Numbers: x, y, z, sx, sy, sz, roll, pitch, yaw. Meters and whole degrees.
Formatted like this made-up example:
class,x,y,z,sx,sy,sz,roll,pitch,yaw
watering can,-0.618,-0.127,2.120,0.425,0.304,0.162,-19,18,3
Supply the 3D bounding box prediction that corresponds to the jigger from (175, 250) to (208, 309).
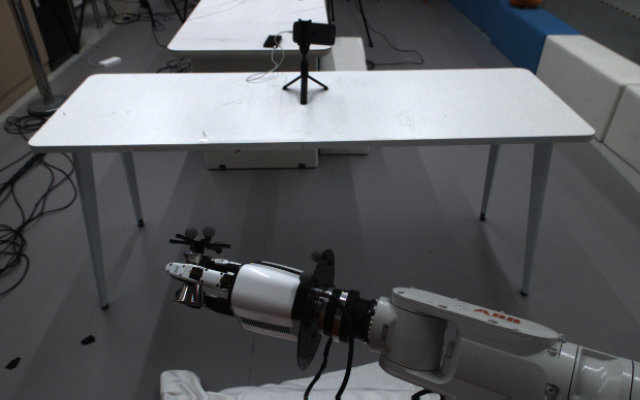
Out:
class,x,y,z,sx,sy,sz,roll,pitch,yaw
jigger,-0.178,0.111,0.678,0.043,0.043,0.071,5,71,4
